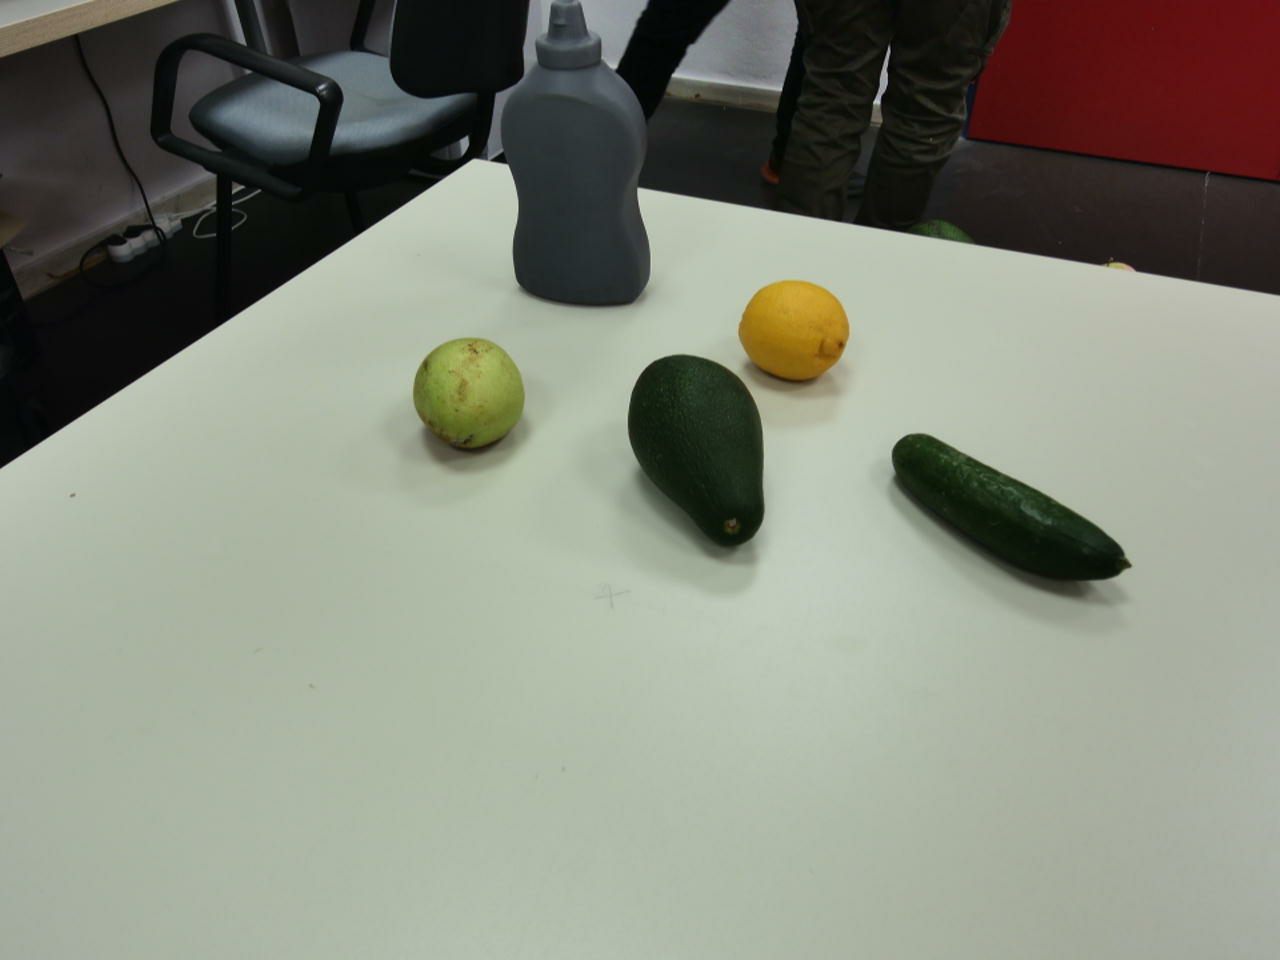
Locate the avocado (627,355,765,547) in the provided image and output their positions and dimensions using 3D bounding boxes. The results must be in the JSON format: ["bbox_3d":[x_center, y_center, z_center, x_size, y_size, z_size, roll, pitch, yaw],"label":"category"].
[{"bbox_3d":[0.028,-0.020,0.522,0.072,0.071,0.109,2,38,2],"label":"avocado"}]
